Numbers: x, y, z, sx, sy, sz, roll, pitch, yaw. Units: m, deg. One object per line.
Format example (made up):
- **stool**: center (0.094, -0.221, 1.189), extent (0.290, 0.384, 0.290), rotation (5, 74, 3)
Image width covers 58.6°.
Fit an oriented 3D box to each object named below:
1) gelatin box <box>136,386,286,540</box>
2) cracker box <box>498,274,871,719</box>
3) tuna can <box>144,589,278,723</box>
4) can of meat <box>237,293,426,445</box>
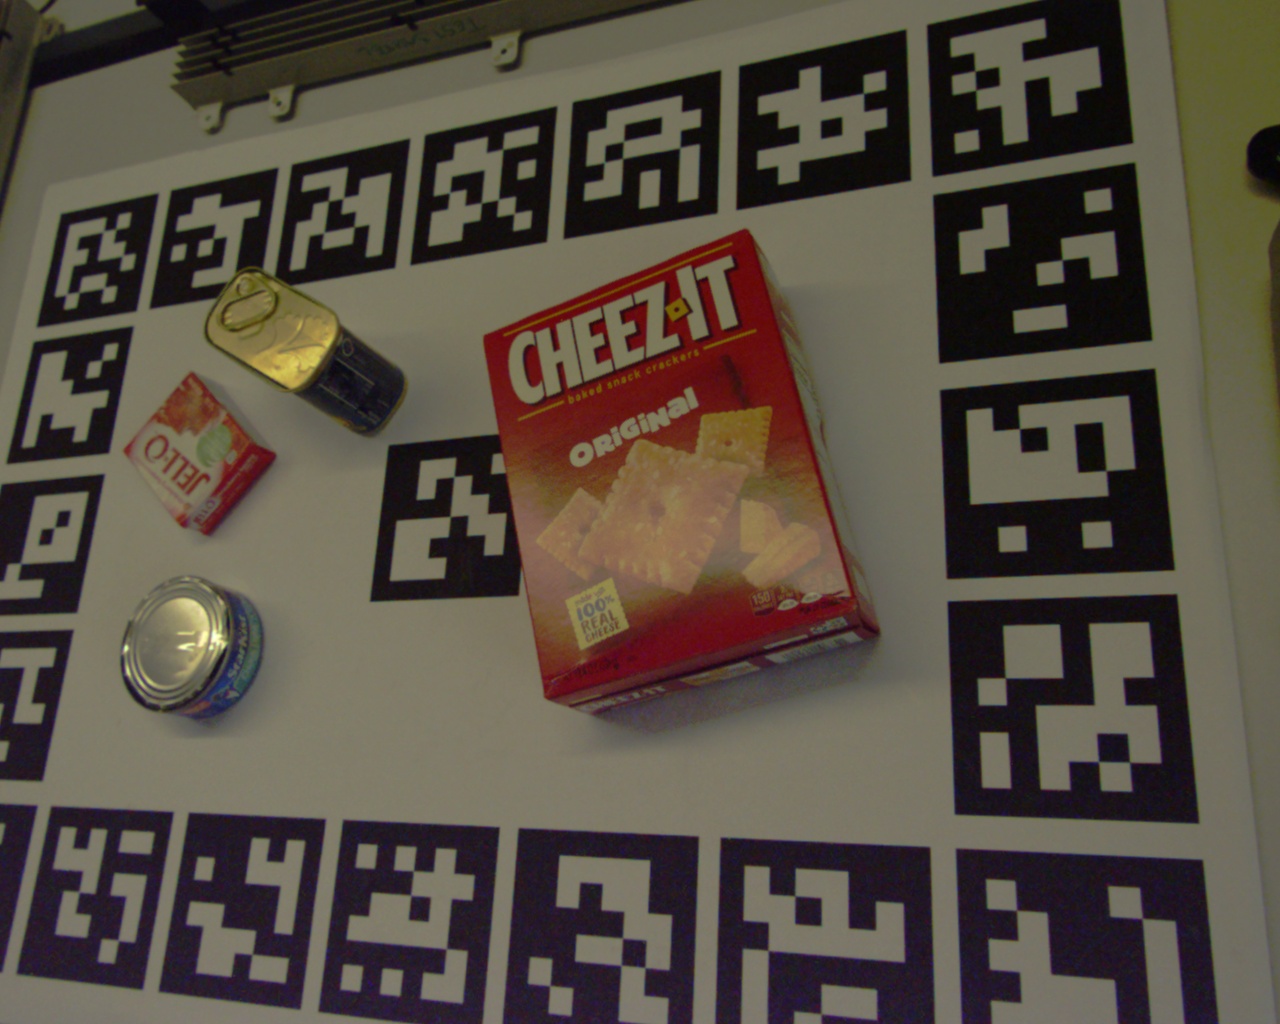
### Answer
- **gelatin box**: center (-0.307, -0.036, 0.815), extent (0.090, 0.030, 0.073), rotation (41, 87, 26)
- **cracker box**: center (0.018, -0.010, 0.654), extent (0.165, 0.071, 0.215), rotation (-20, 64, 13)
- **tuna can**: center (-0.283, 0.096, 0.754), extent (0.086, 0.033, 0.086), rotation (-7, 73, 21)
- **can of meat**: center (-0.206, -0.094, 0.772), extent (0.103, 0.083, 0.058), rotation (28, 83, 29)
